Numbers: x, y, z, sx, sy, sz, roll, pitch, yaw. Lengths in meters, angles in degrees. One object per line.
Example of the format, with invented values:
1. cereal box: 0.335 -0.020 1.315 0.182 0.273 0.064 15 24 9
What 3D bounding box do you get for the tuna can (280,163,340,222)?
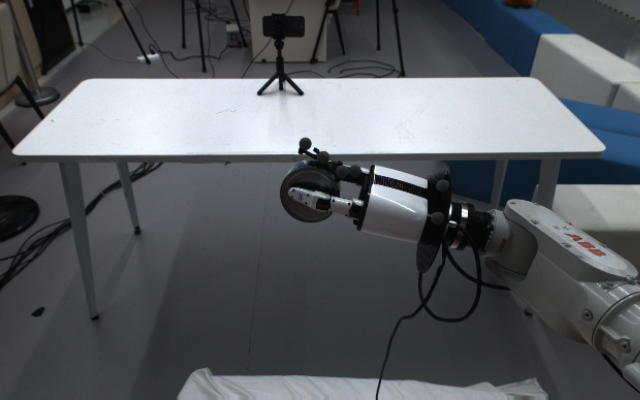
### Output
1. tuna can: -0.013 -0.012 0.699 0.085 0.085 0.034 4 20 3
